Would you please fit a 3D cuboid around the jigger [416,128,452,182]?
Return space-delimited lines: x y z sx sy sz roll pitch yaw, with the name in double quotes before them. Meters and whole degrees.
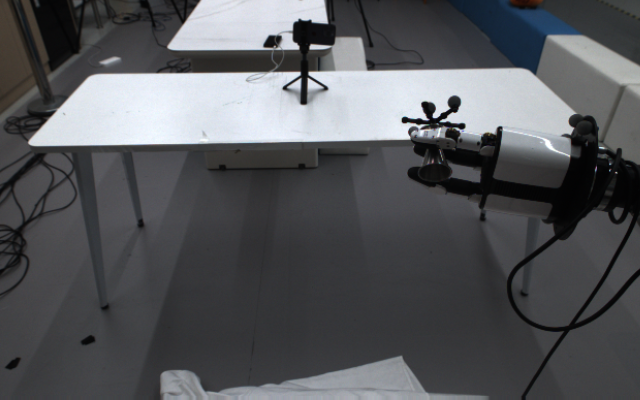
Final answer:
"jigger" 0.153 -0.065 0.657 0.043 0.043 0.071 4 61 3
